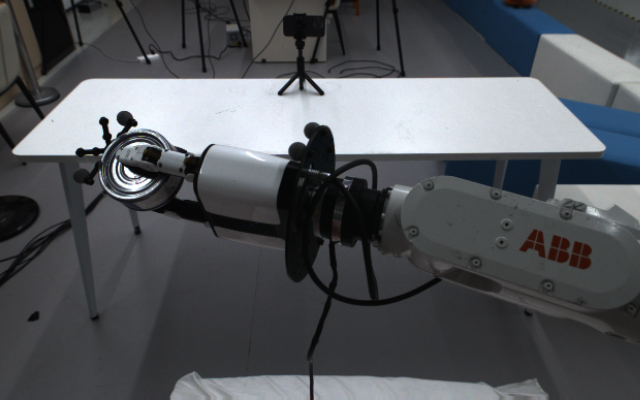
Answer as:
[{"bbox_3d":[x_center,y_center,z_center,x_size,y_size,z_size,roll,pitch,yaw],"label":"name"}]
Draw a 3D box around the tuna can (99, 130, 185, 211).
[{"bbox_3d":[-0.190,-0.029,0.525,0.085,0.034,0.085,-2,72,6],"label":"tuna can"}]
